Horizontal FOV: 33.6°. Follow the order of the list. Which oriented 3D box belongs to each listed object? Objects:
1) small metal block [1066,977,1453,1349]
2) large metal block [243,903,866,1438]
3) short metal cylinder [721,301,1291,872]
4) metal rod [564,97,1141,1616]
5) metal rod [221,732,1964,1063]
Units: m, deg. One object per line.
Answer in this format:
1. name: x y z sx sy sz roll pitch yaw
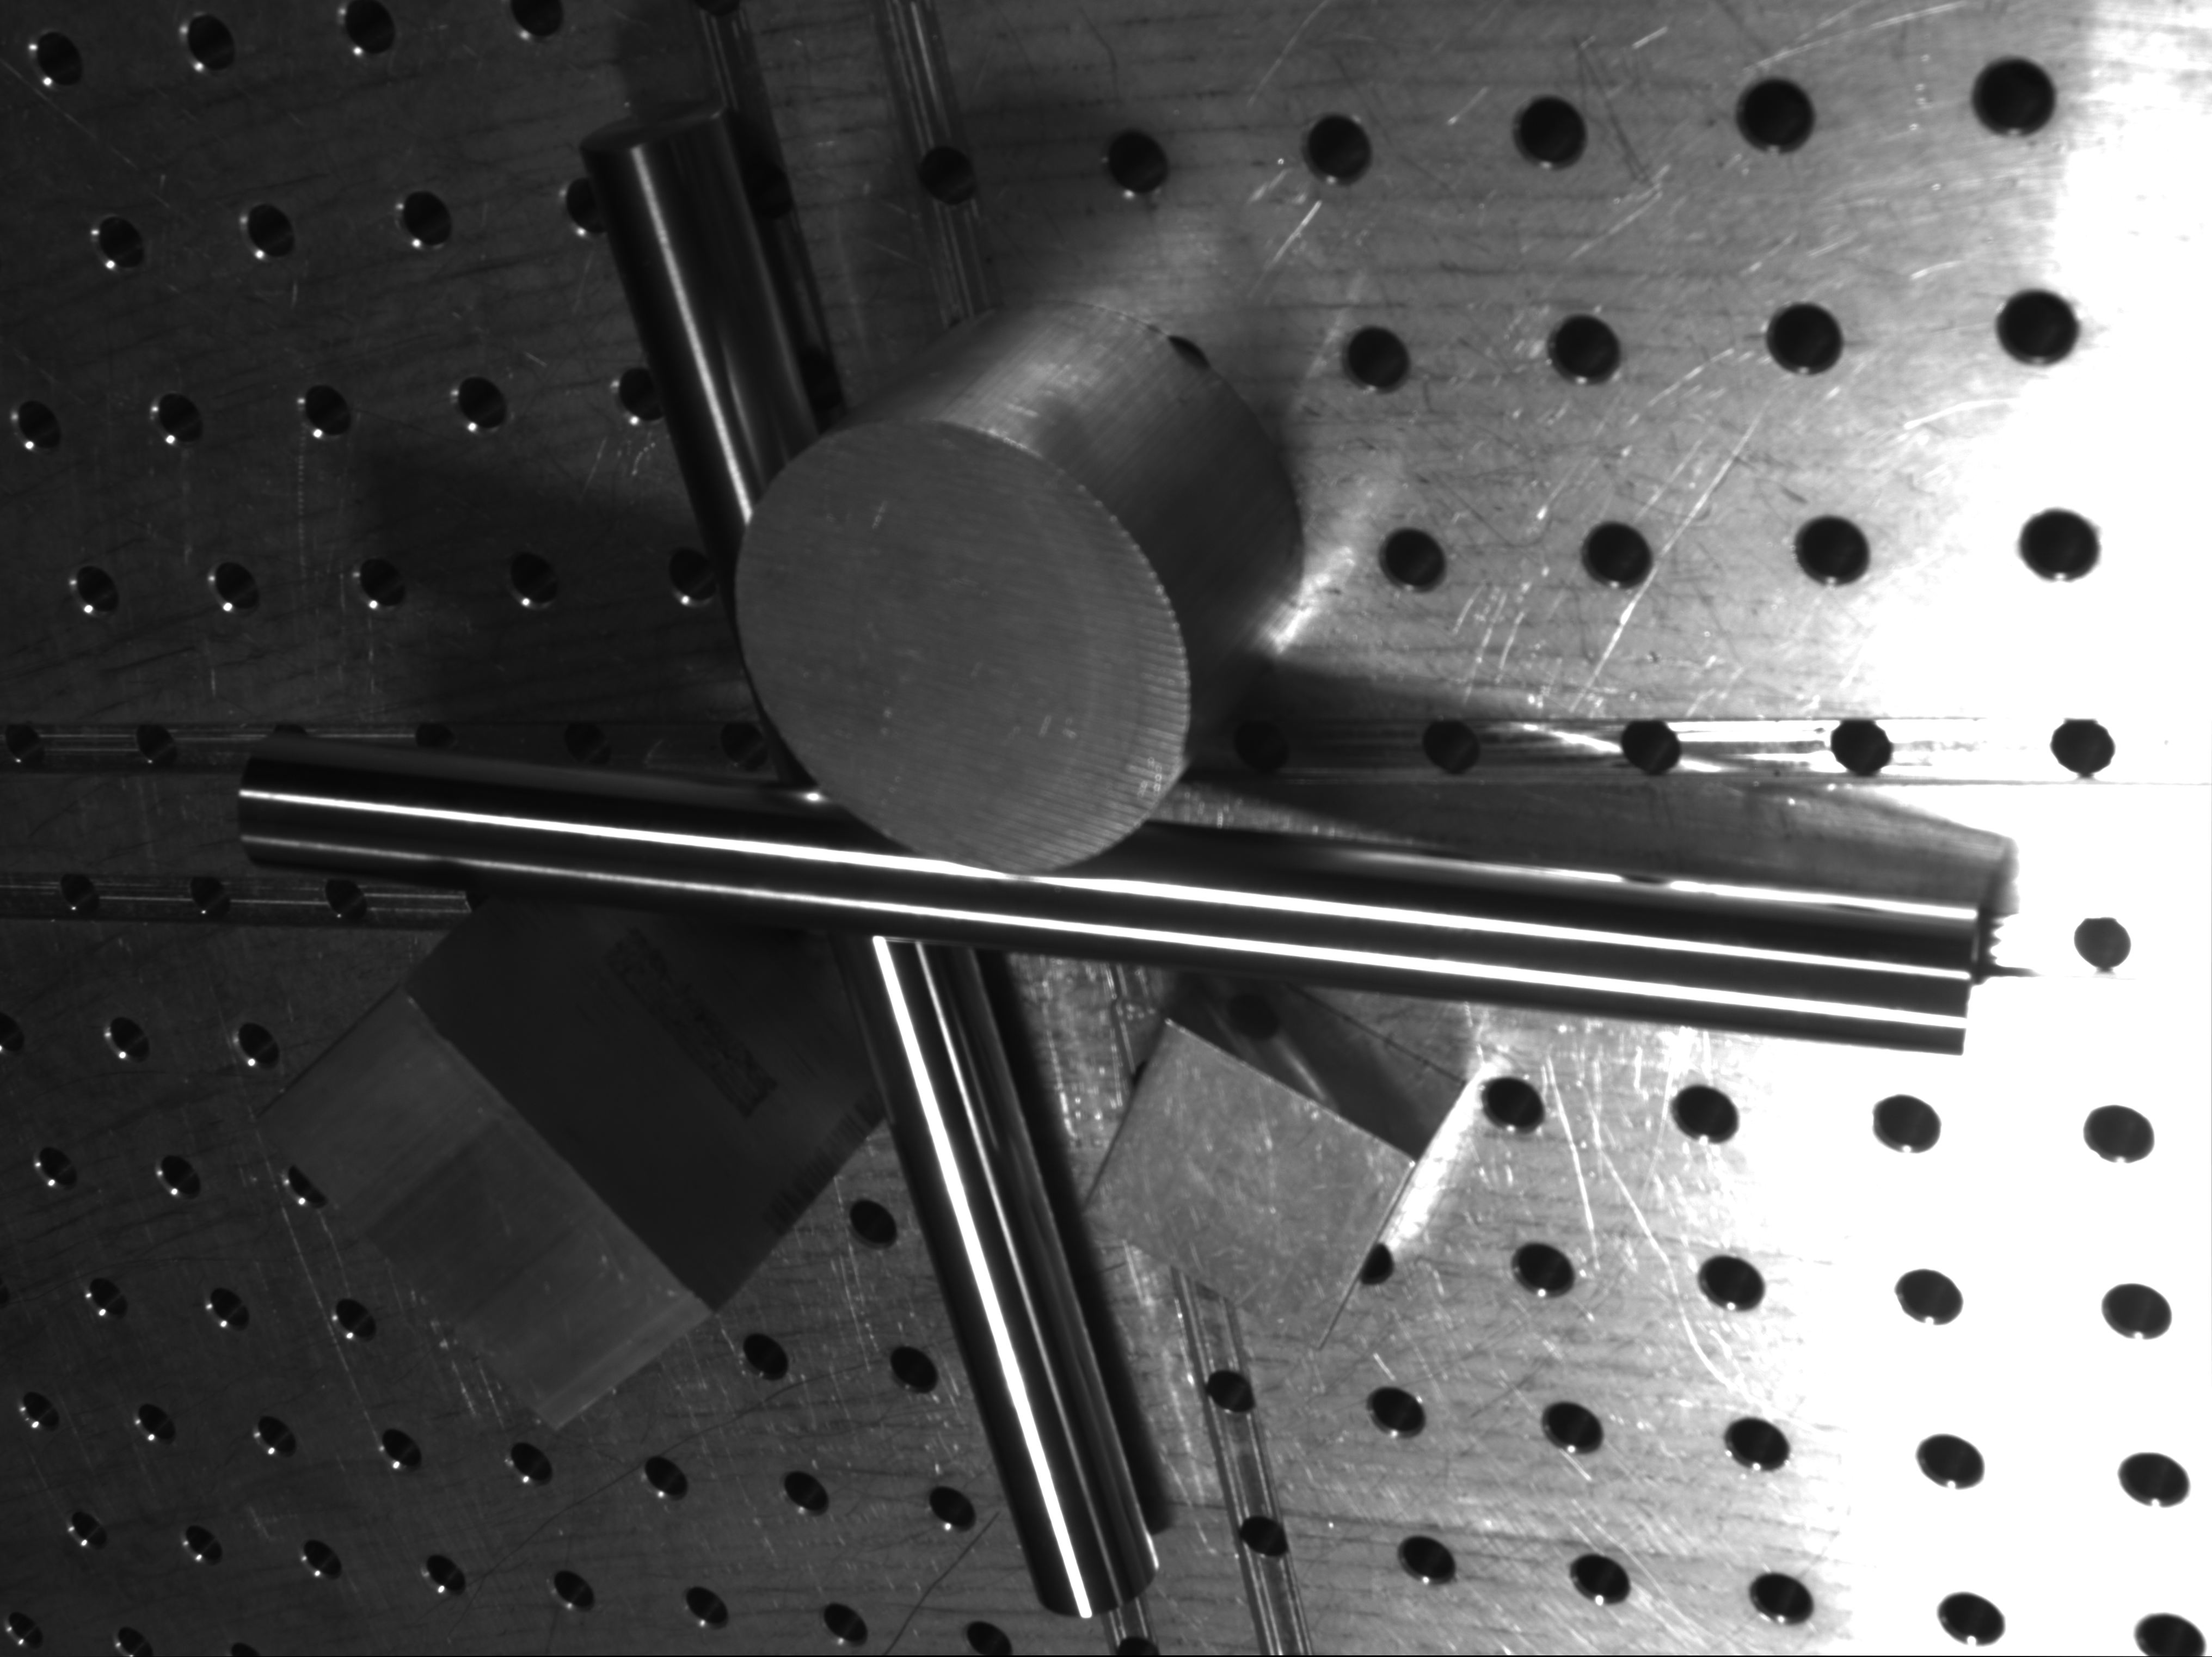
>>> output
1. small metal block: 0.027 0.057 0.656 0.050 0.025 0.050 29 127 8
2. large metal block: -0.096 0.050 0.676 0.080 0.080 0.050 47 128 -5
3. short metal cylinder: -0.016 -0.040 0.602 0.080 0.050 0.080 12 123 20
4. metal rod: -0.041 0.016 0.664 0.025 0.025 0.300 -2 117 28
5. metal rod: -0.009 0.010 0.621 0.300 0.025 0.025 6 121 15
